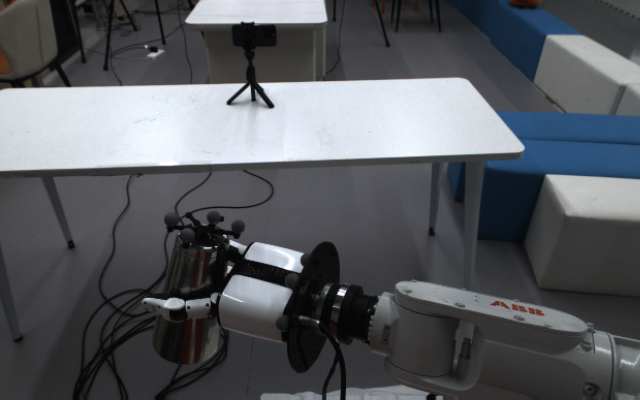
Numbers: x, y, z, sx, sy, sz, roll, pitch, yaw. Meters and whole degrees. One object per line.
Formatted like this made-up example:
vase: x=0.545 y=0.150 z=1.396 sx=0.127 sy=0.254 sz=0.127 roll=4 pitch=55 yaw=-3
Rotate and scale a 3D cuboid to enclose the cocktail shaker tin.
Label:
cocktail shaker tin: x=-0.164 y=0.119 z=0.637 sx=0.093 sy=0.170 sz=0.093 roll=12 pitch=24 yaw=-5
